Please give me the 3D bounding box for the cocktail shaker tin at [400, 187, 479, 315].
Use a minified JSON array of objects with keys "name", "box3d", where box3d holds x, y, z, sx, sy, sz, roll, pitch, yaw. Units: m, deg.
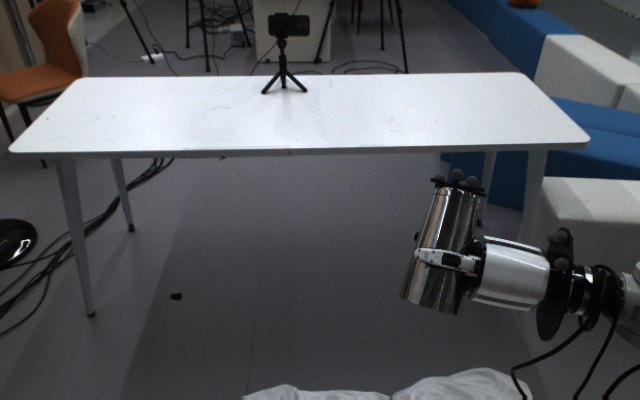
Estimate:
[{"name":"cocktail shaker tin","box3d":[0.181,0.071,0.708,0.093,0.170,0.093,16,-4,1]}]
